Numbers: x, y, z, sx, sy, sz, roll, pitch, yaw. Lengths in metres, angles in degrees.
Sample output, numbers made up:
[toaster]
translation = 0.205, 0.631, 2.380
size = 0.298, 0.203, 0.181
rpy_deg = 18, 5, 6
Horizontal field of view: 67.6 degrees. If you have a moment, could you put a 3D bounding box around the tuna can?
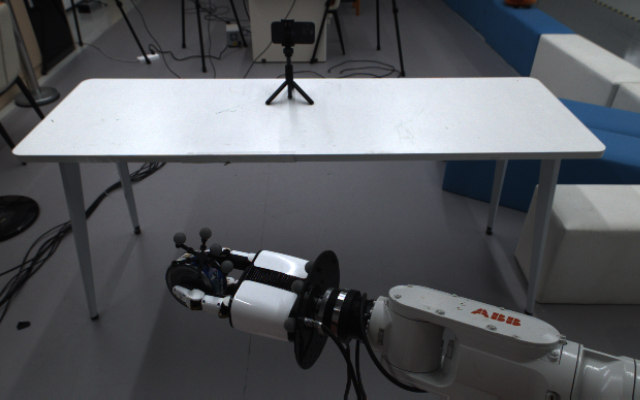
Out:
[tuna can]
translation = -0.179, 0.119, 0.703
size = 0.085, 0.085, 0.034
rpy_deg = 15, 31, 18
